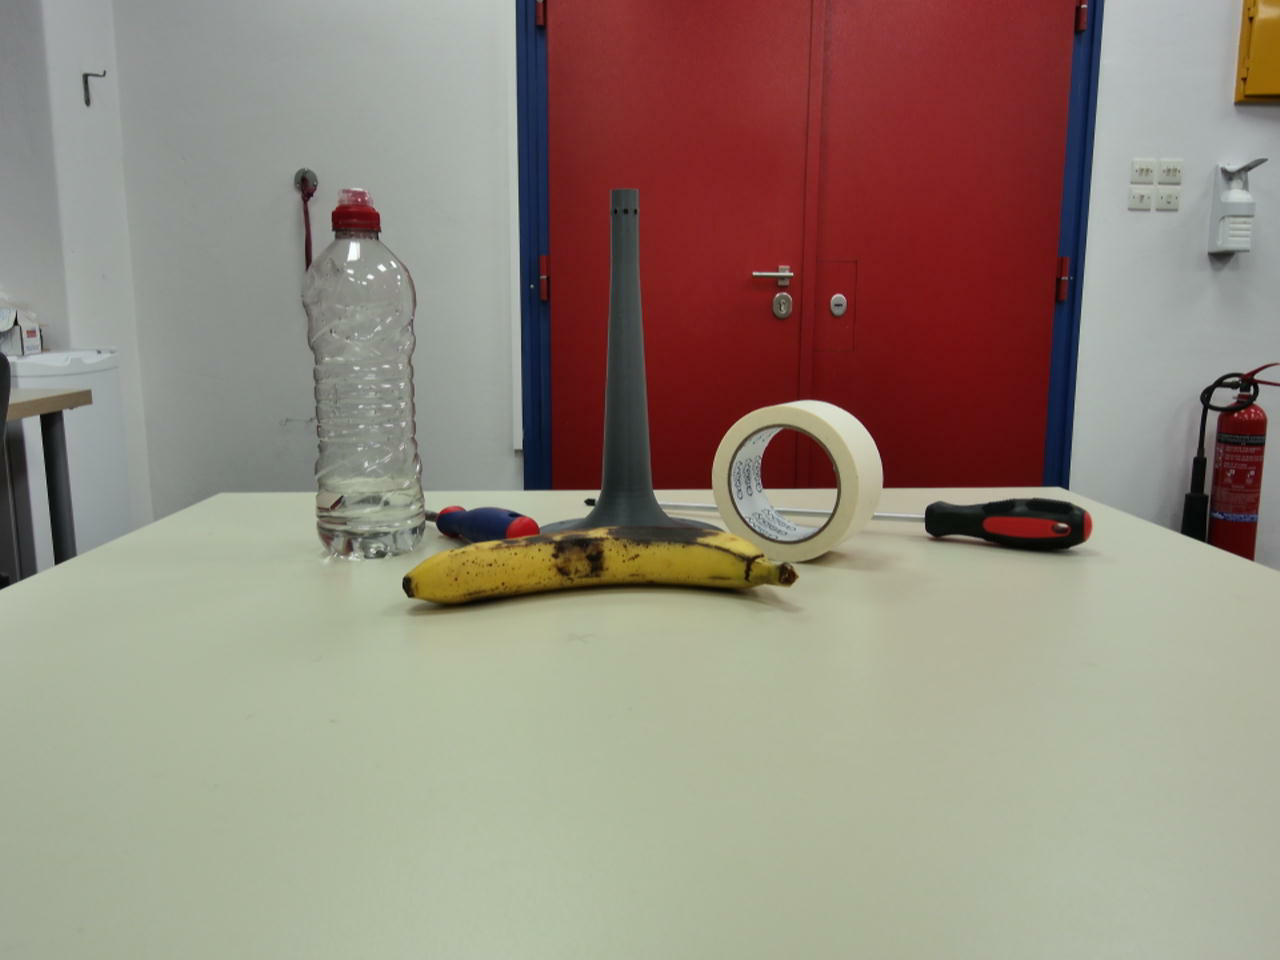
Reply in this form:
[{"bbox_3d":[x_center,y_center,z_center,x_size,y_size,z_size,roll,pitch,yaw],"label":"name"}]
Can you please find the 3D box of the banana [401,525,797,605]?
[{"bbox_3d":[-0.023,0.051,0.598,0.222,0.037,0.084,0,7,0],"label":"banana"}]
